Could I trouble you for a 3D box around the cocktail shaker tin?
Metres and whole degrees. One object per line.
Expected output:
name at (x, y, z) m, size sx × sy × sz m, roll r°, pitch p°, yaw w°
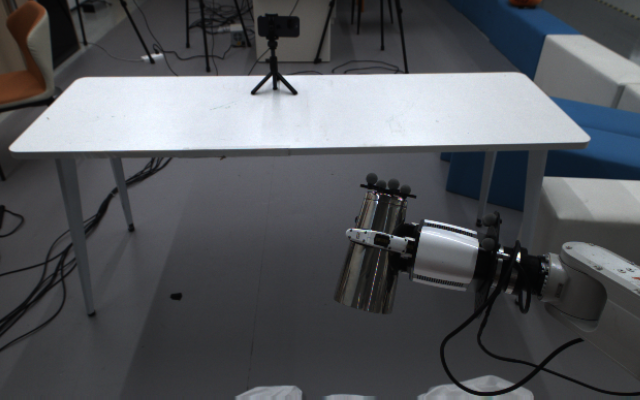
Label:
cocktail shaker tin at (0.085, 0.077, 0.738) m, size 0.093 × 0.170 × 0.093 m, roll 13°, pitch -2°, yaw 0°
